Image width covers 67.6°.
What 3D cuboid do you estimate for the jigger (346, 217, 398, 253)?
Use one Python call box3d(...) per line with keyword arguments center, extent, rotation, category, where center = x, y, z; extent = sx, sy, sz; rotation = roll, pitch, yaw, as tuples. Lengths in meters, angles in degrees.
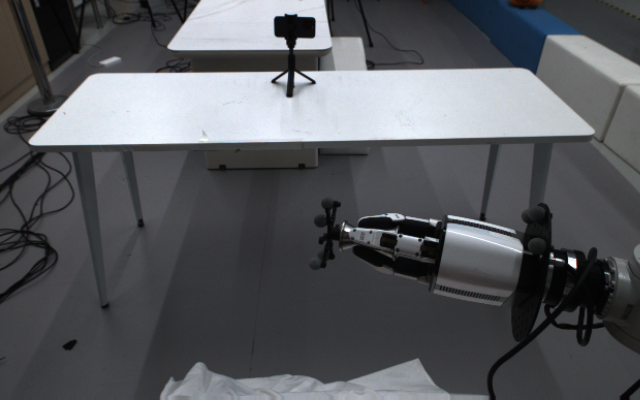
box3d(center=(0.068, 0.046, 0.597), extent=(0.071, 0.043, 0.043), rotation=(7, 35, 14), category="jigger")
